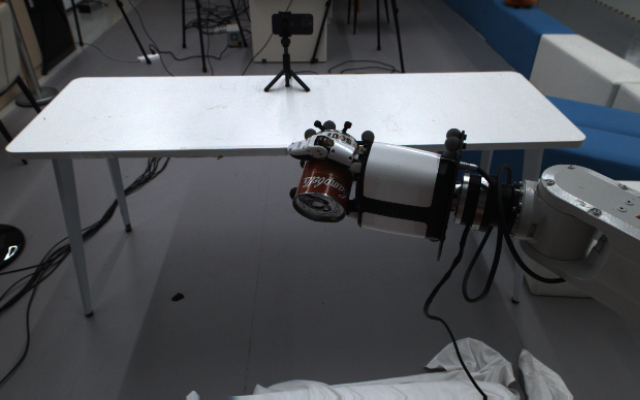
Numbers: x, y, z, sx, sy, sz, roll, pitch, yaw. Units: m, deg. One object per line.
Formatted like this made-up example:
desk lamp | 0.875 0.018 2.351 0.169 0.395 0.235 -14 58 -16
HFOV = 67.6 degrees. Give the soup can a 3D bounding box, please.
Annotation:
soup can | 0.011 -0.031 0.615 0.067 0.067 0.101 9 58 10
